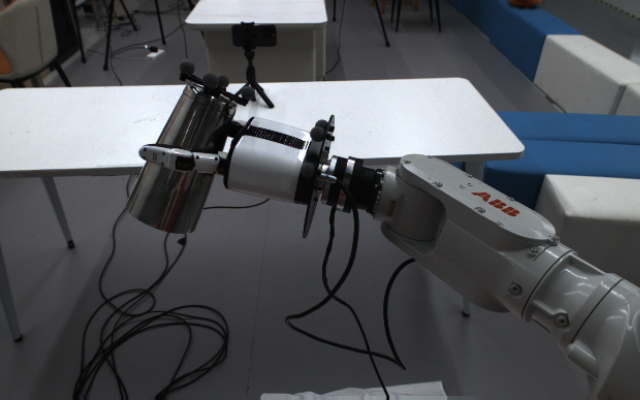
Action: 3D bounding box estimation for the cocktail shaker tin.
[{"bbox_3d":[-0.166,-0.055,0.606,0.093,0.170,0.093,24,12,-6],"label":"cocktail shaker tin"}]
